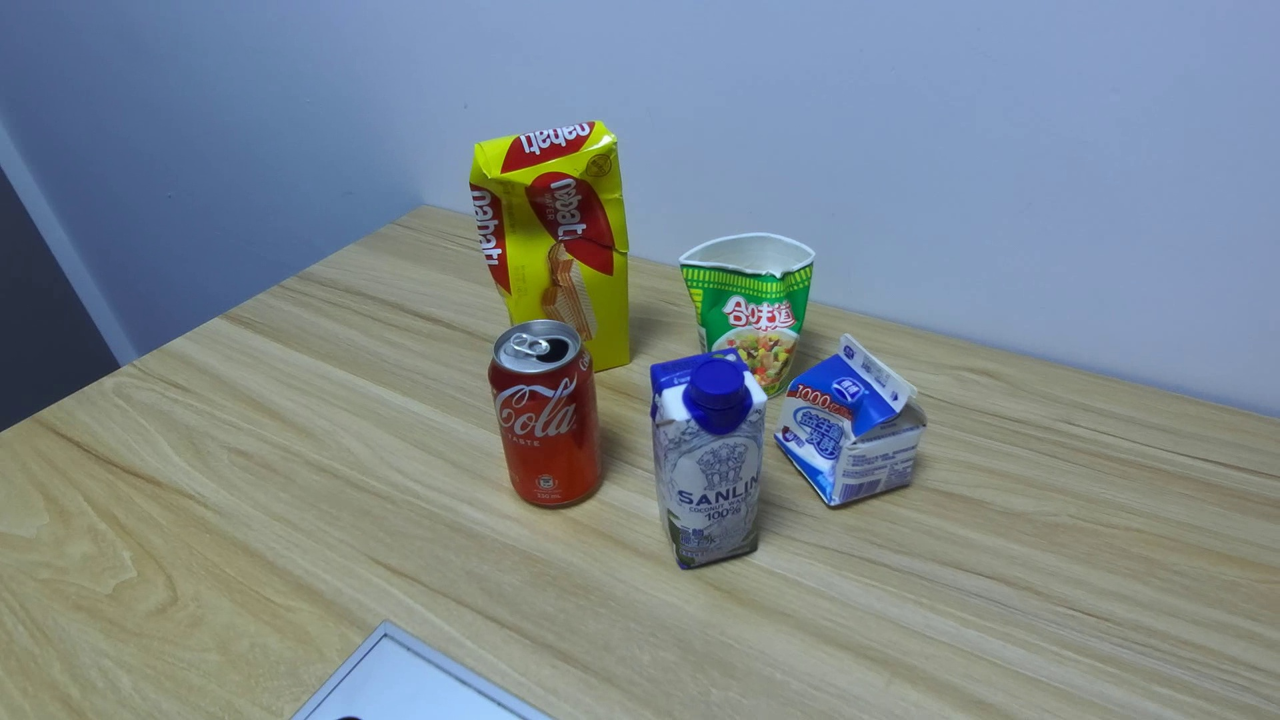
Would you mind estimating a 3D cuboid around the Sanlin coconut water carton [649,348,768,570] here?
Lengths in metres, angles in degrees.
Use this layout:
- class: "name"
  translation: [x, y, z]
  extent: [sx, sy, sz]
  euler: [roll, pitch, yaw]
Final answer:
- class: "Sanlin coconut water carton"
  translation: [0.040, 0.055, 0.414]
  extent: [0.061, 0.144, 0.060]
  euler: [-13, 37, -11]

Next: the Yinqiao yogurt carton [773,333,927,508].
- class: "Yinqiao yogurt carton"
  translation: [0.145, 0.037, 0.476]
  extent: [0.071, 0.094, 0.077]
  euler: [-11, 38, -20]

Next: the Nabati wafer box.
- class: "Nabati wafer box"
  translation: [-0.063, -0.074, 0.543]
  extent: [0.107, 0.204, 0.042]
  euler: [-14, 40, -13]

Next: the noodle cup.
- class: "noodle cup"
  translation: [0.088, -0.032, 0.553]
  extent: [0.082, 0.122, 0.075]
  euler: [15, 32, 36]

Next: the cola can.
- class: "cola can"
  translation: [-0.061, 0.037, 0.471]
  extent: [0.068, 0.120, 0.067]
  euler: [-1, 37, 1]
